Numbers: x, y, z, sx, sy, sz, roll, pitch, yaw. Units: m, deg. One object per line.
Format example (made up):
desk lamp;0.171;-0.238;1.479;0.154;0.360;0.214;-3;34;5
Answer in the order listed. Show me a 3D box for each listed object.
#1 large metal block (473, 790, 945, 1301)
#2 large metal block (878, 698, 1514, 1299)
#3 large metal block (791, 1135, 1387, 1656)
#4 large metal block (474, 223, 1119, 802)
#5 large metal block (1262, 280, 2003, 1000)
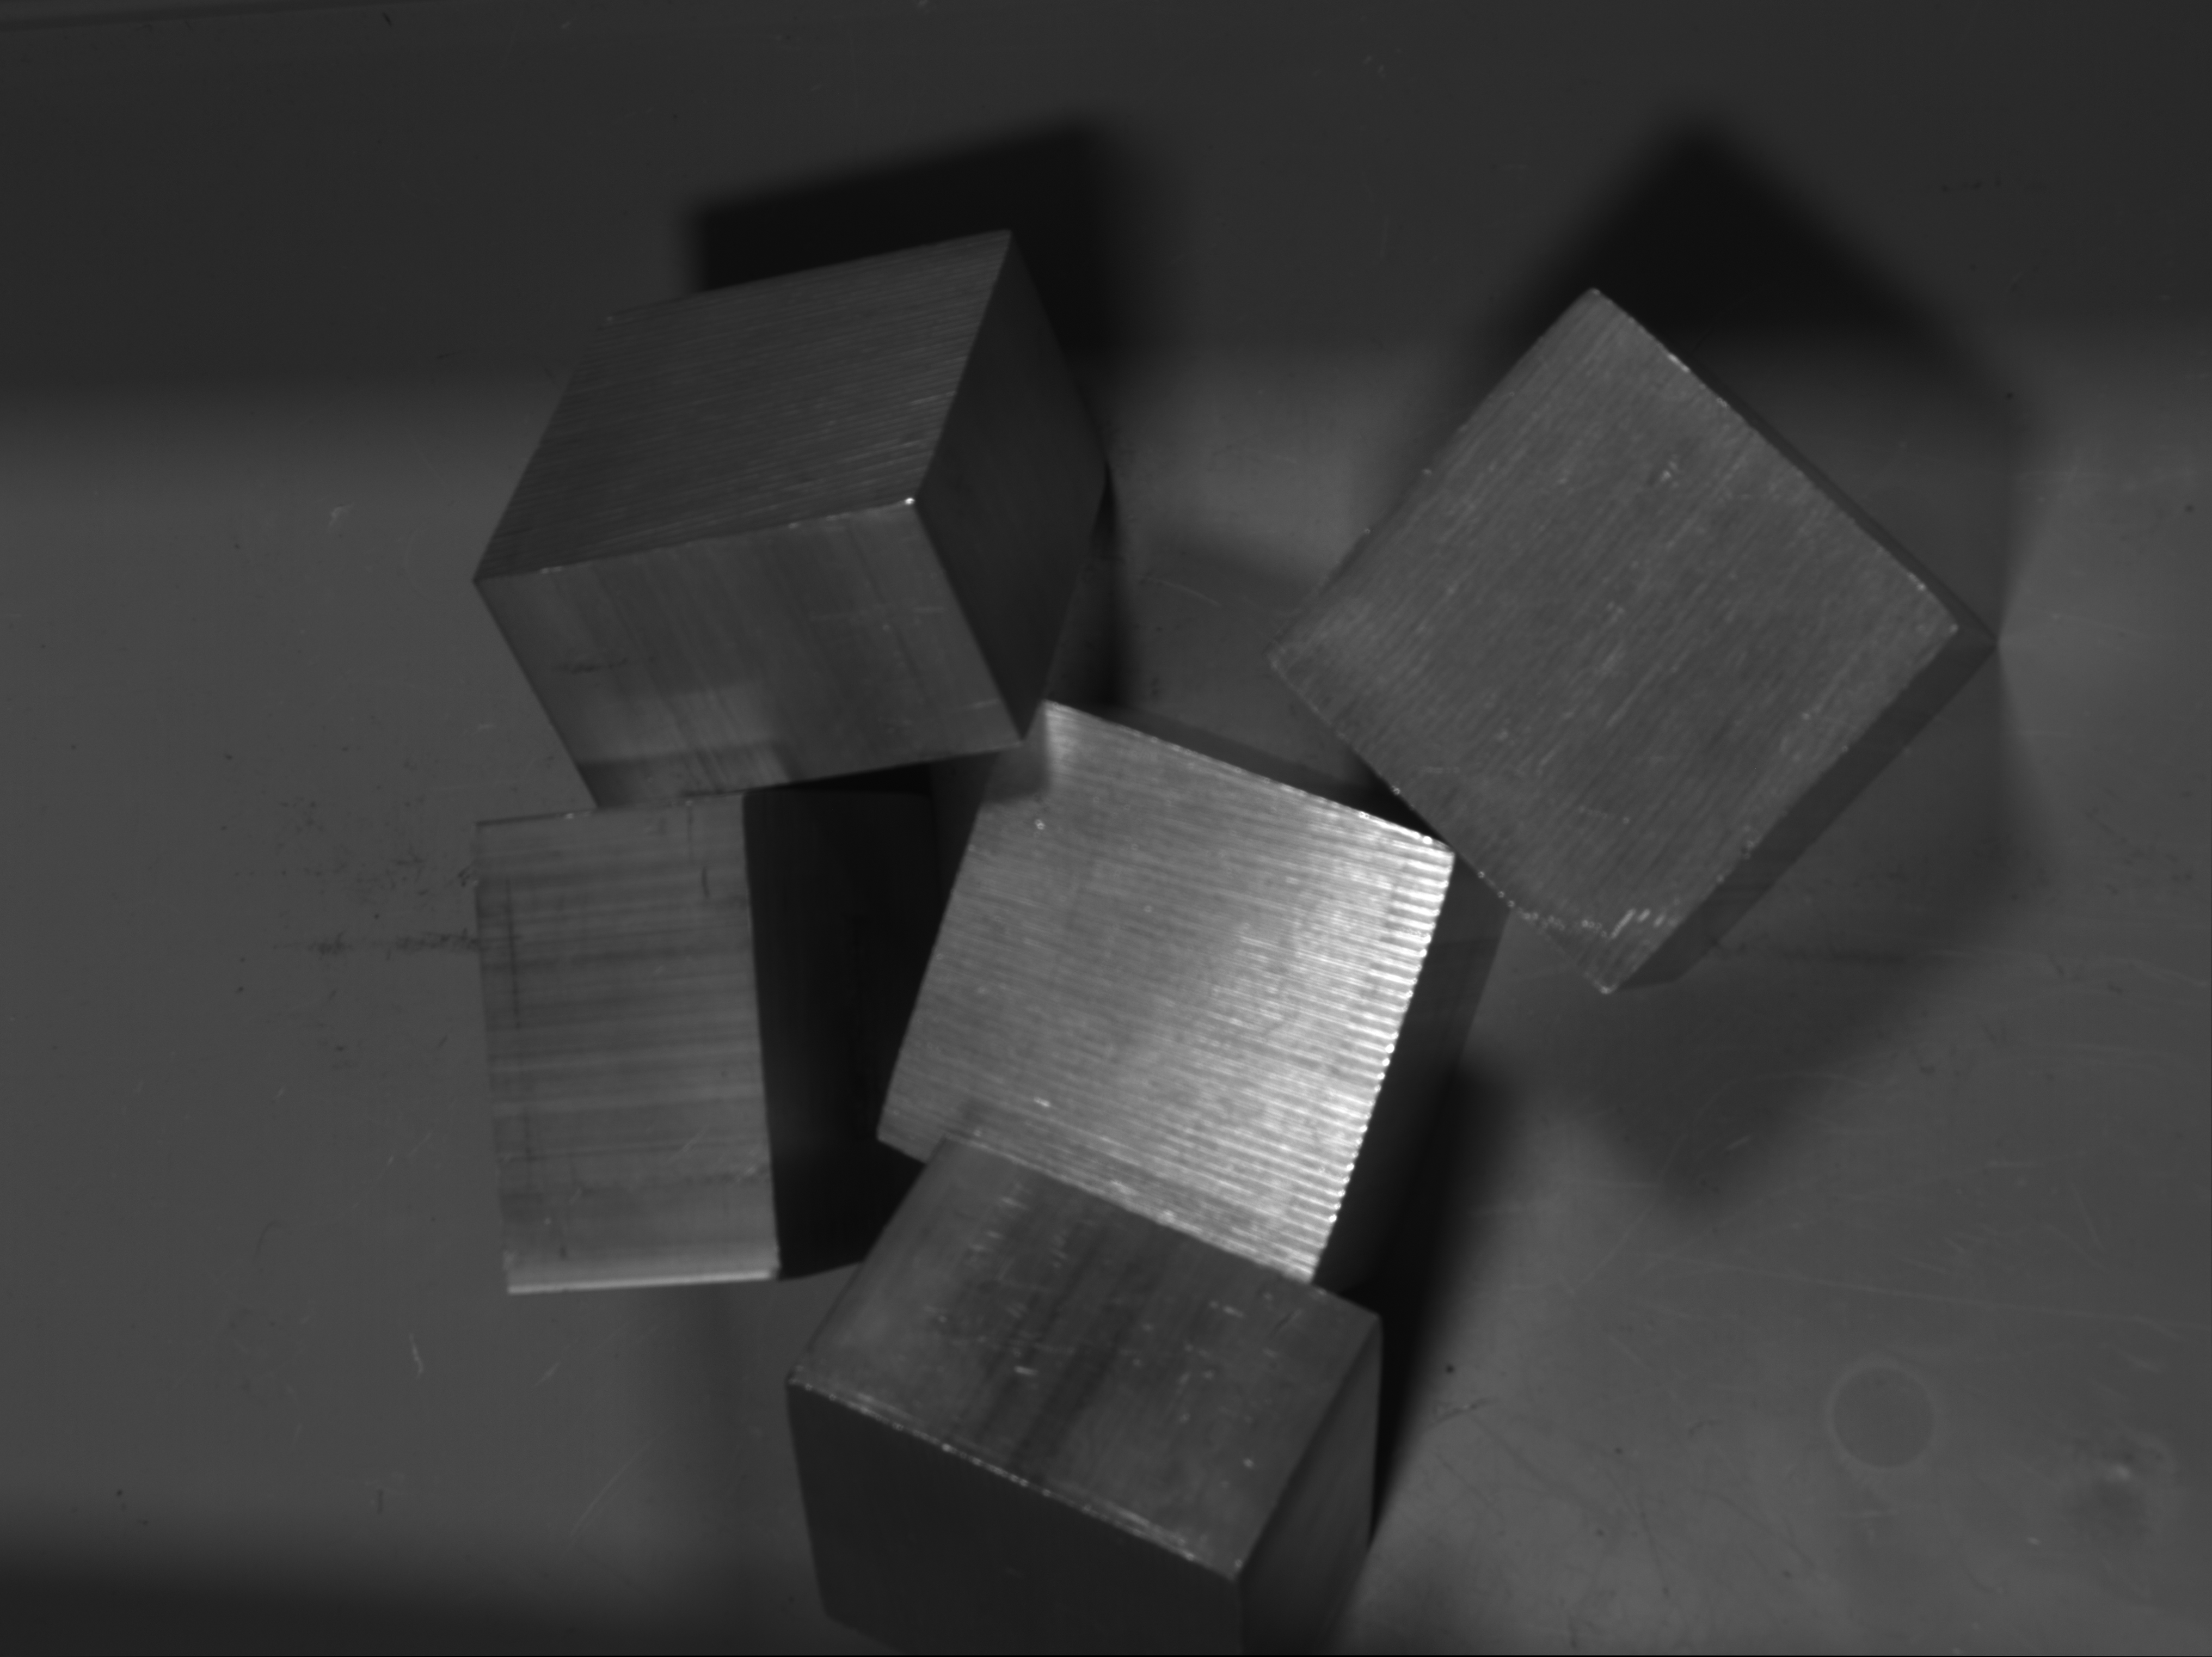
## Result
large metal block;-0.065;0.036;0.637;0.050;0.080;0.080;-6;88;20
large metal block;0.018;0.028;0.625;0.080;0.050;0.080;20;97;19
large metal block;-0.002;0.107;0.608;0.080;0.080;0.050;21;54;17
large metal block;-0.050;-0.053;0.626;0.080;0.080;0.050;-8;129;20
large metal block;0.087;-0.030;0.599;0.080;0.050;0.080;45;104;14
